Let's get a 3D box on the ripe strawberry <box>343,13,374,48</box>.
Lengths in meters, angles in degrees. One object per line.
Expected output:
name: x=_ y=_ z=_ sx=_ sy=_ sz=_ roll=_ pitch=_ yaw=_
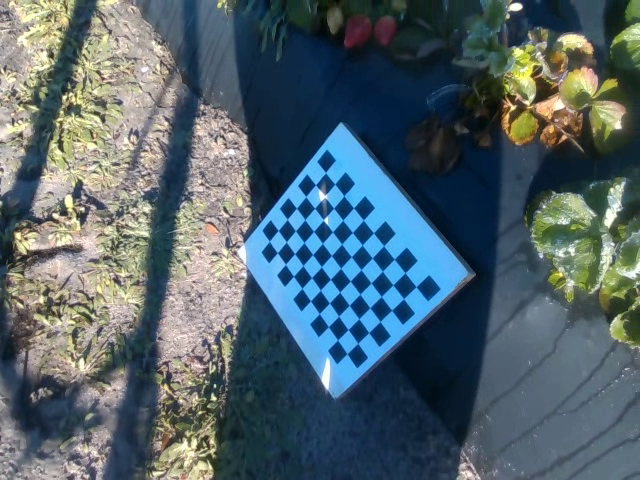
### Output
ripe strawberry: x=0.046 y=-0.267 z=0.809 sx=0.037 sy=0.051 sz=0.039 roll=11 pitch=-32 yaw=36

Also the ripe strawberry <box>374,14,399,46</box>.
ripe strawberry: x=0.085 y=-0.268 z=0.802 sx=0.036 sy=0.041 sz=0.030 roll=-20 pitch=-18 yaw=35
